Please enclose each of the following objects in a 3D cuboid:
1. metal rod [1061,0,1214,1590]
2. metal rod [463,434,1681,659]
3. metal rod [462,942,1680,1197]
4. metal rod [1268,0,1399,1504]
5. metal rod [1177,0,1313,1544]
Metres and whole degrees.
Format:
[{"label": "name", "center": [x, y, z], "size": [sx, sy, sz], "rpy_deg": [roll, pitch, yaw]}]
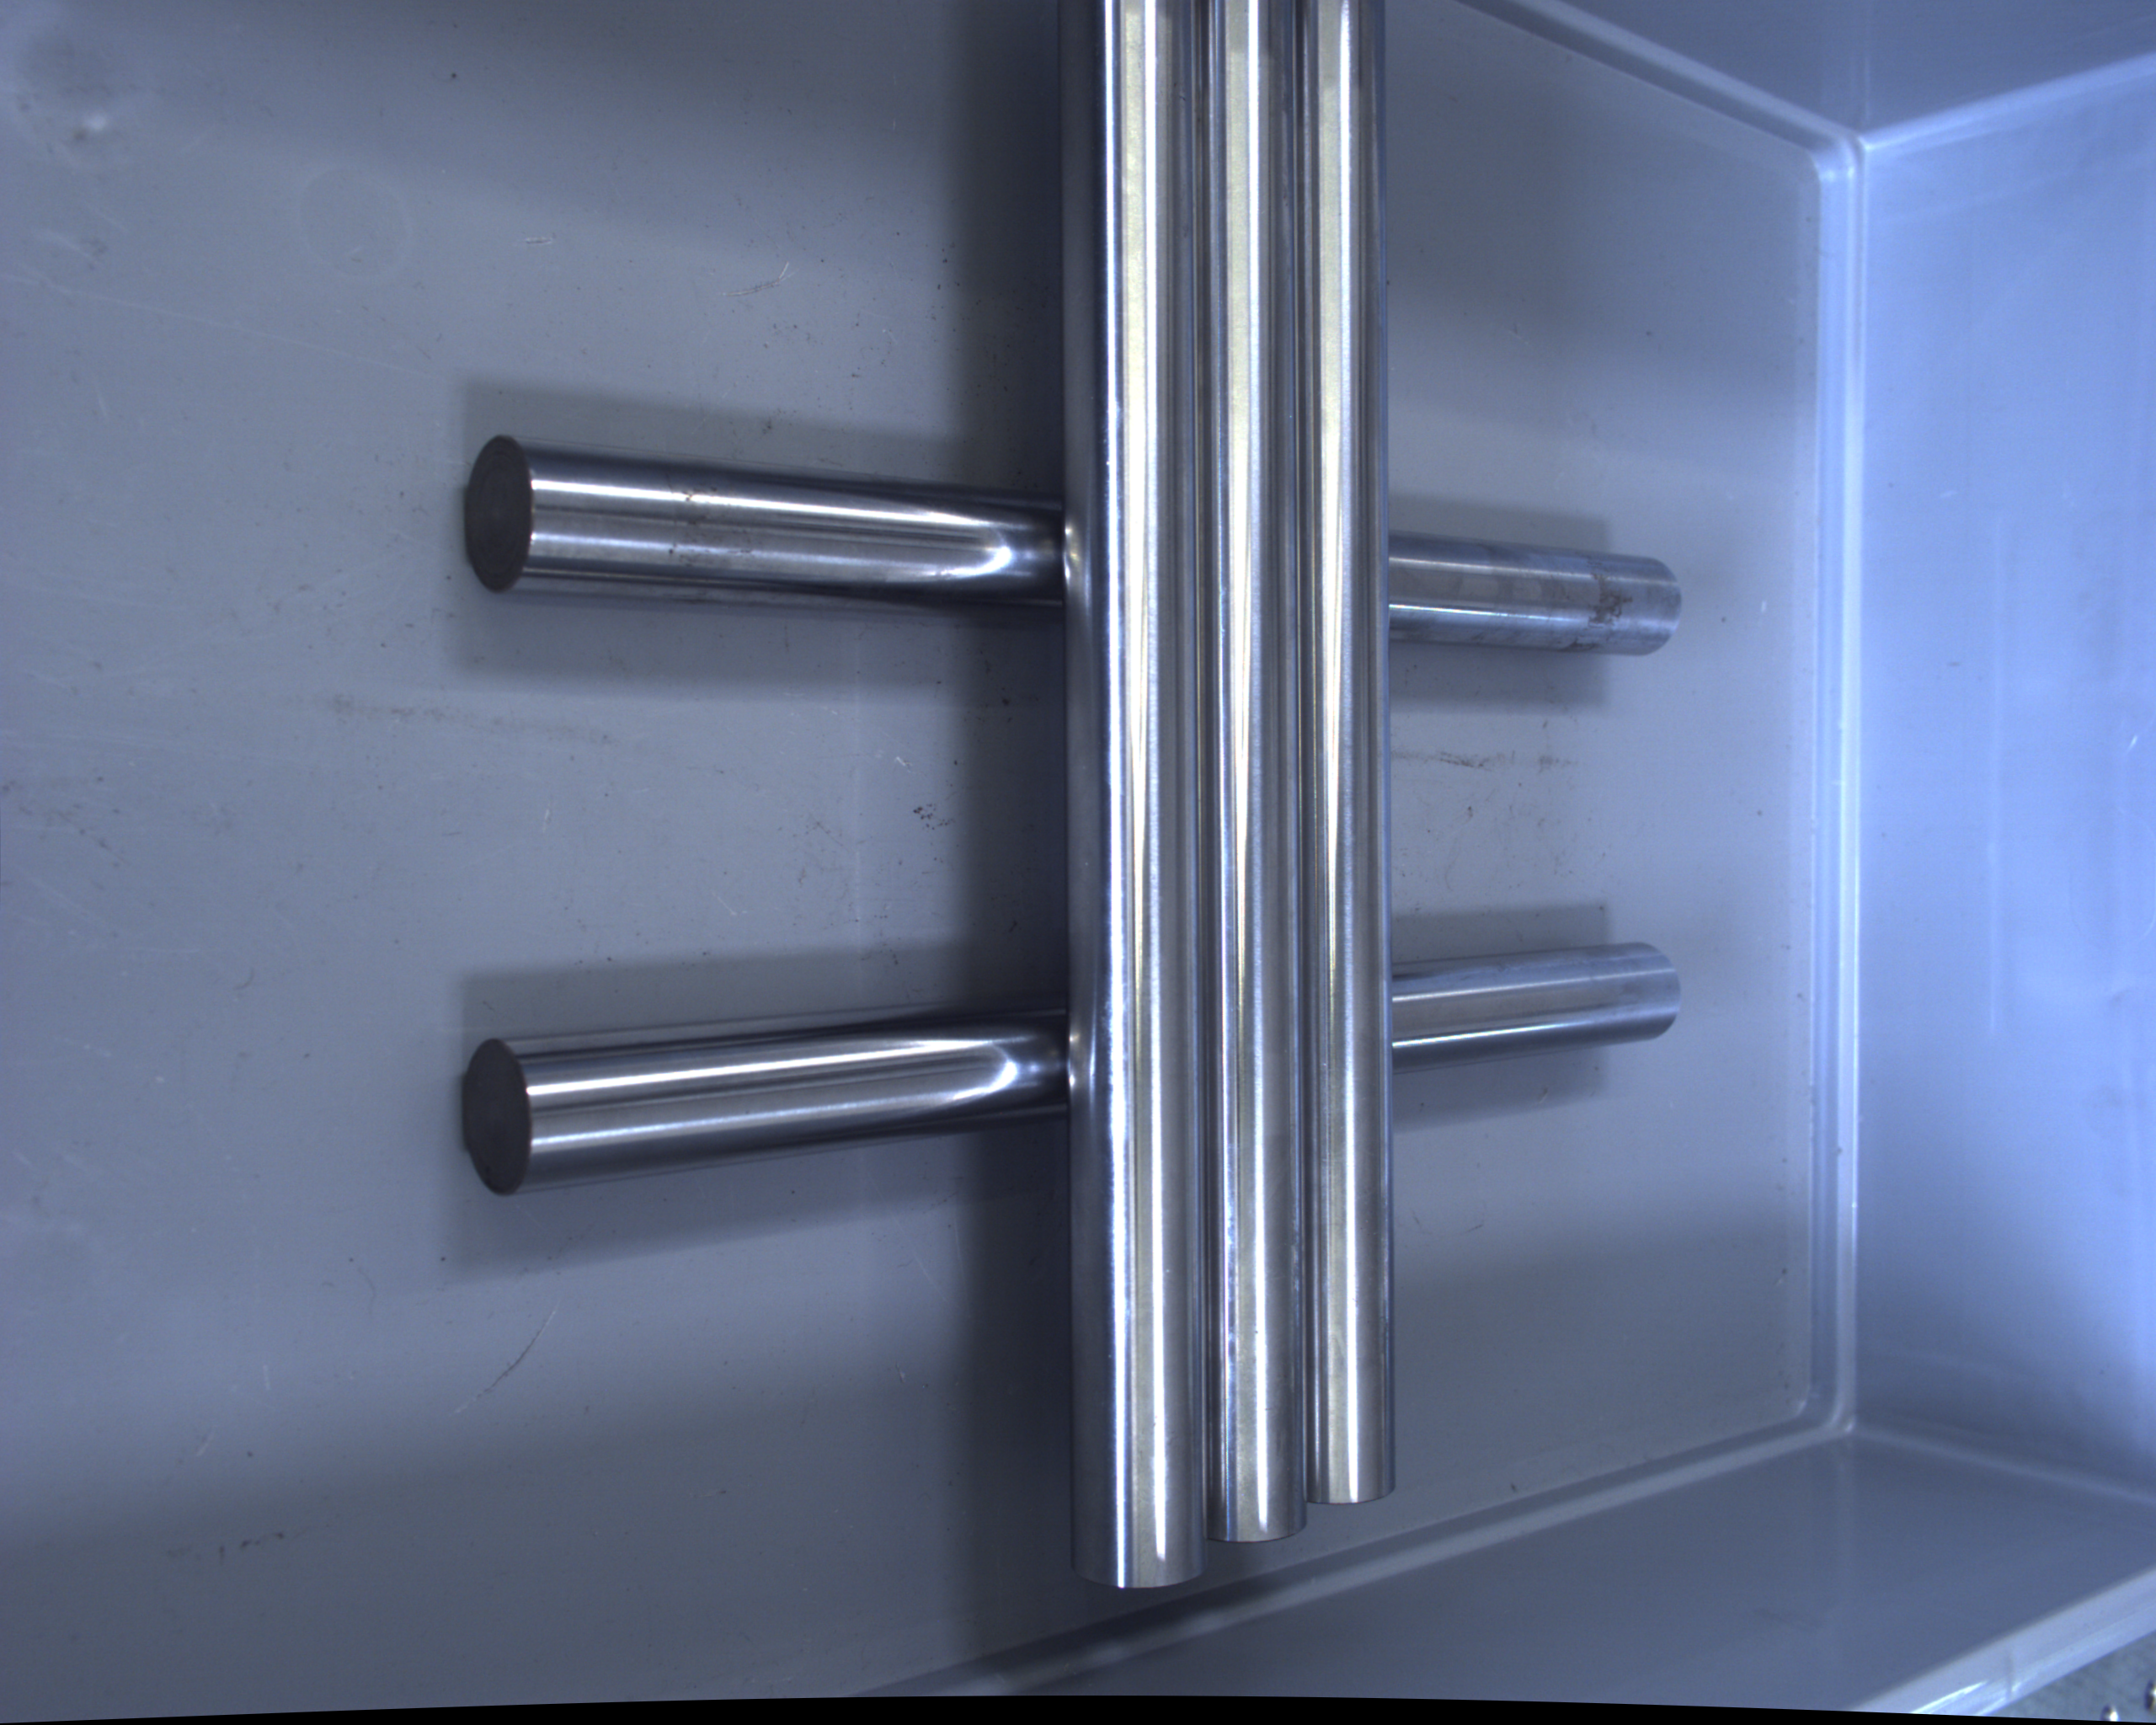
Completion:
[{"label": "metal rod", "center": [0.011, -0.021, 0.380], "size": [0.025, 0.025, 0.298], "rpy_deg": [-1, 91, -40]}, {"label": "metal rod", "center": [0.024, -0.059, 0.425], "size": [0.302, 0.025, 0.025], "rpy_deg": [-2, 92, -40]}, {"label": "metal rod", "center": [0.024, 0.036, 0.425], "size": [0.302, 0.025, 0.025], "rpy_deg": [-2, 91, -40]}, {"label": "metal rod", "center": [0.049, -0.026, 0.412], "size": [0.025, 0.025, 0.298], "rpy_deg": [-1, 91, -40]}, {"label": "metal rod", "center": [0.031, -0.023, 0.396], "size": [0.025, 0.025, 0.298], "rpy_deg": [-1, 91, -40]}]
